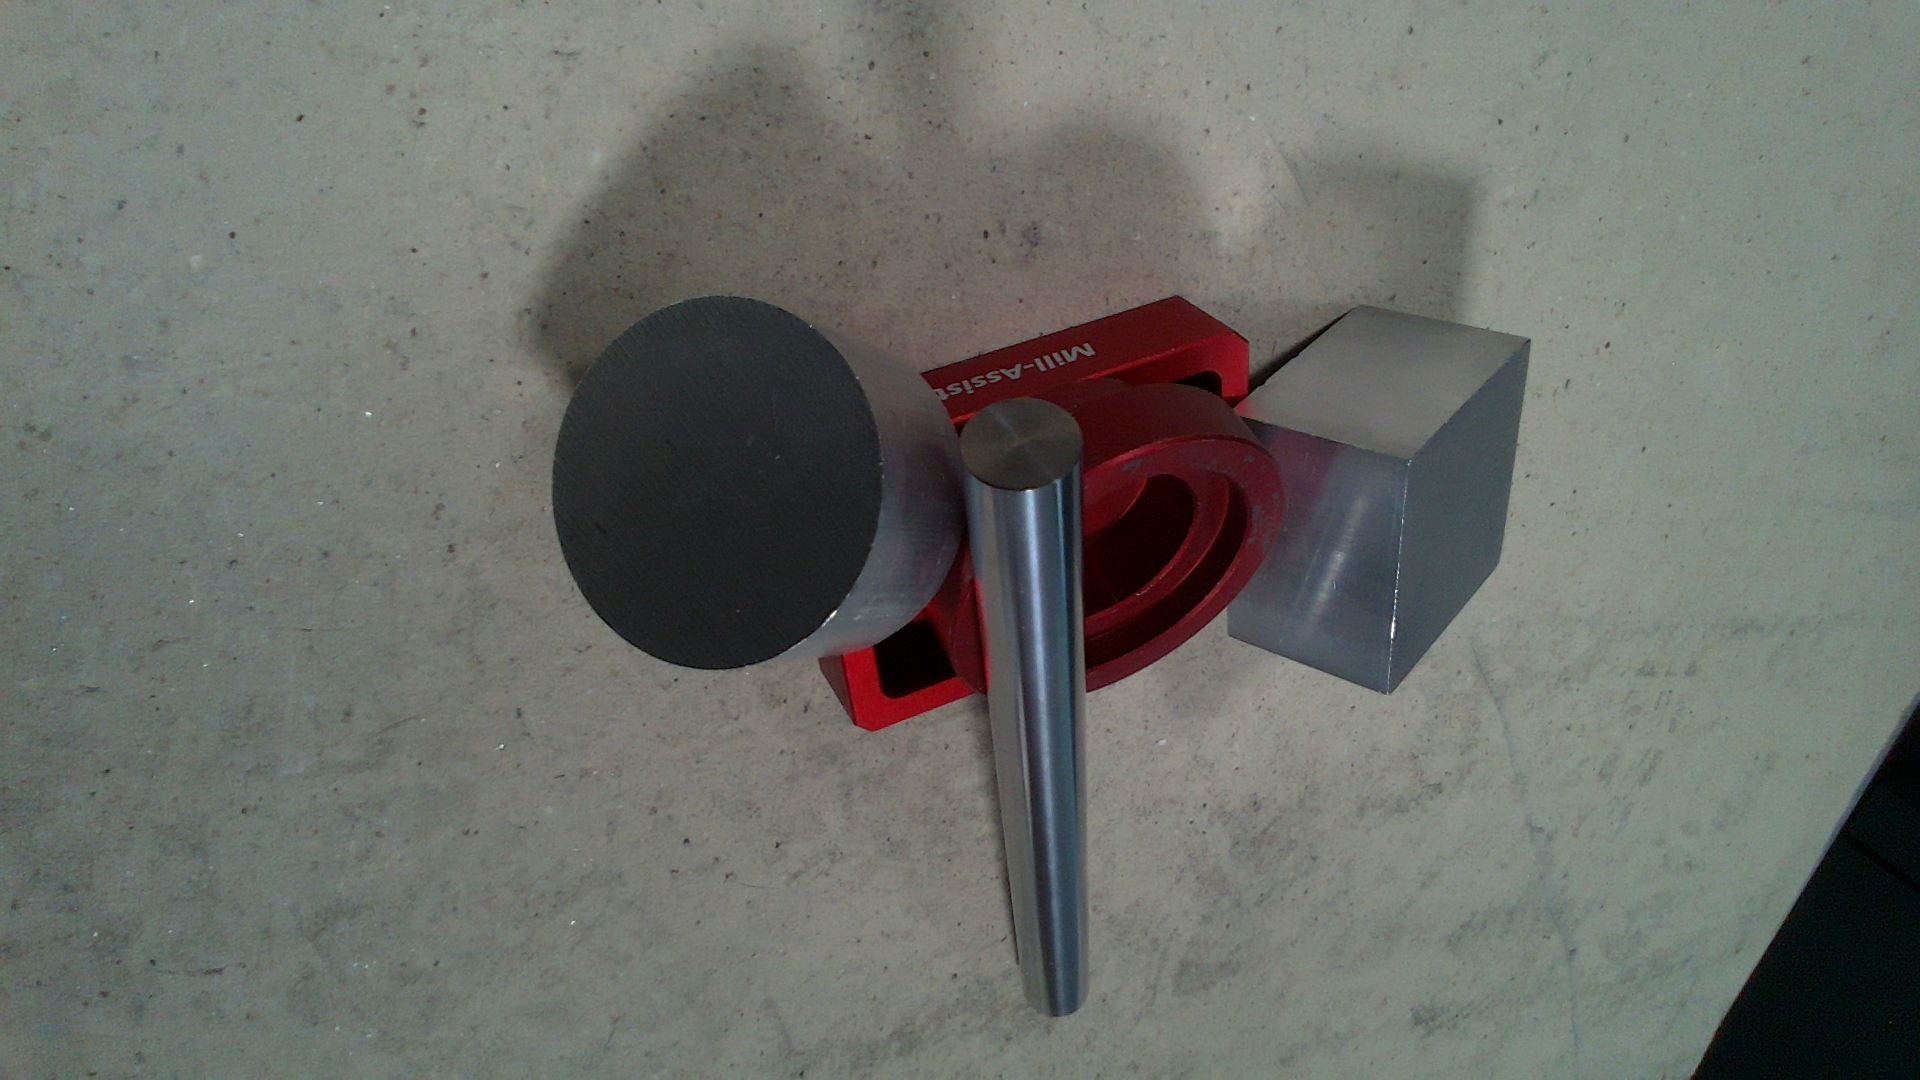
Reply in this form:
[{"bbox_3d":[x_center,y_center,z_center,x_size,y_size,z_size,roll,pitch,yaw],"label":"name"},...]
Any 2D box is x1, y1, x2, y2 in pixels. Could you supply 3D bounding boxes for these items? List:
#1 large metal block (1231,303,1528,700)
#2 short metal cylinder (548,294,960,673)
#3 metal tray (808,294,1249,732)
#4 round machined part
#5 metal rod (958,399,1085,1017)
[{"bbox_3d":[0.124,-0.014,0.410,0.080,0.050,0.080,-38,135,-37],"label":"large metal block"},{"bbox_3d":[-0.045,-0.012,0.314,0.080,0.080,0.050,-55,164,11],"label":"short metal cylinder"},{"bbox_3d":[0.019,-0.008,0.391,0.130,0.030,0.090,-19,126,-17],"label":"metal tray"},{"bbox_3d":[0.034,-0.004,0.363,0.098,0.042,0.098,-19,141,-16],"label":"round machined part"},{"bbox_3d":[0.023,0.073,0.390,0.025,0.025,0.300,-24,144,-13],"label":"metal rod"}]
